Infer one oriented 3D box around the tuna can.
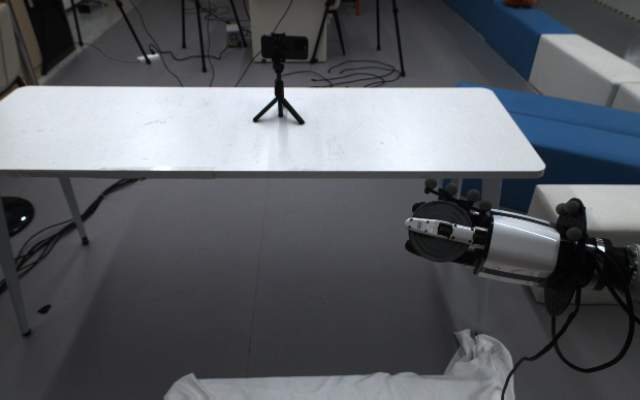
[{"bbox_3d":[0.170,0.042,0.673,0.085,0.085,0.034,14,-6,16],"label":"tuna can"}]
